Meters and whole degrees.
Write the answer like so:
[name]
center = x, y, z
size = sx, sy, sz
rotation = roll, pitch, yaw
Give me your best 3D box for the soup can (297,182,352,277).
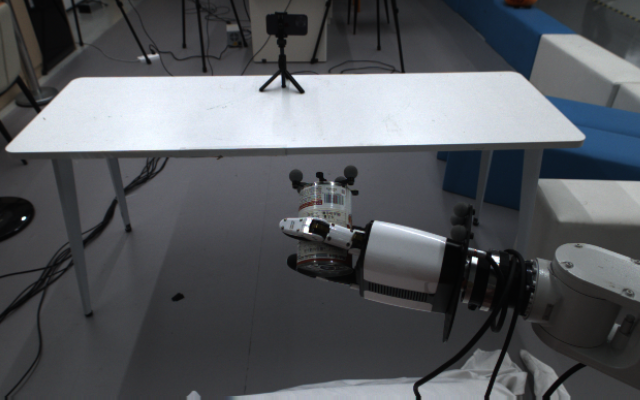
[soup can]
center = 0.008, 0.037, 0.586
size = 0.067, 0.067, 0.101
rotation = 2, 68, -1
